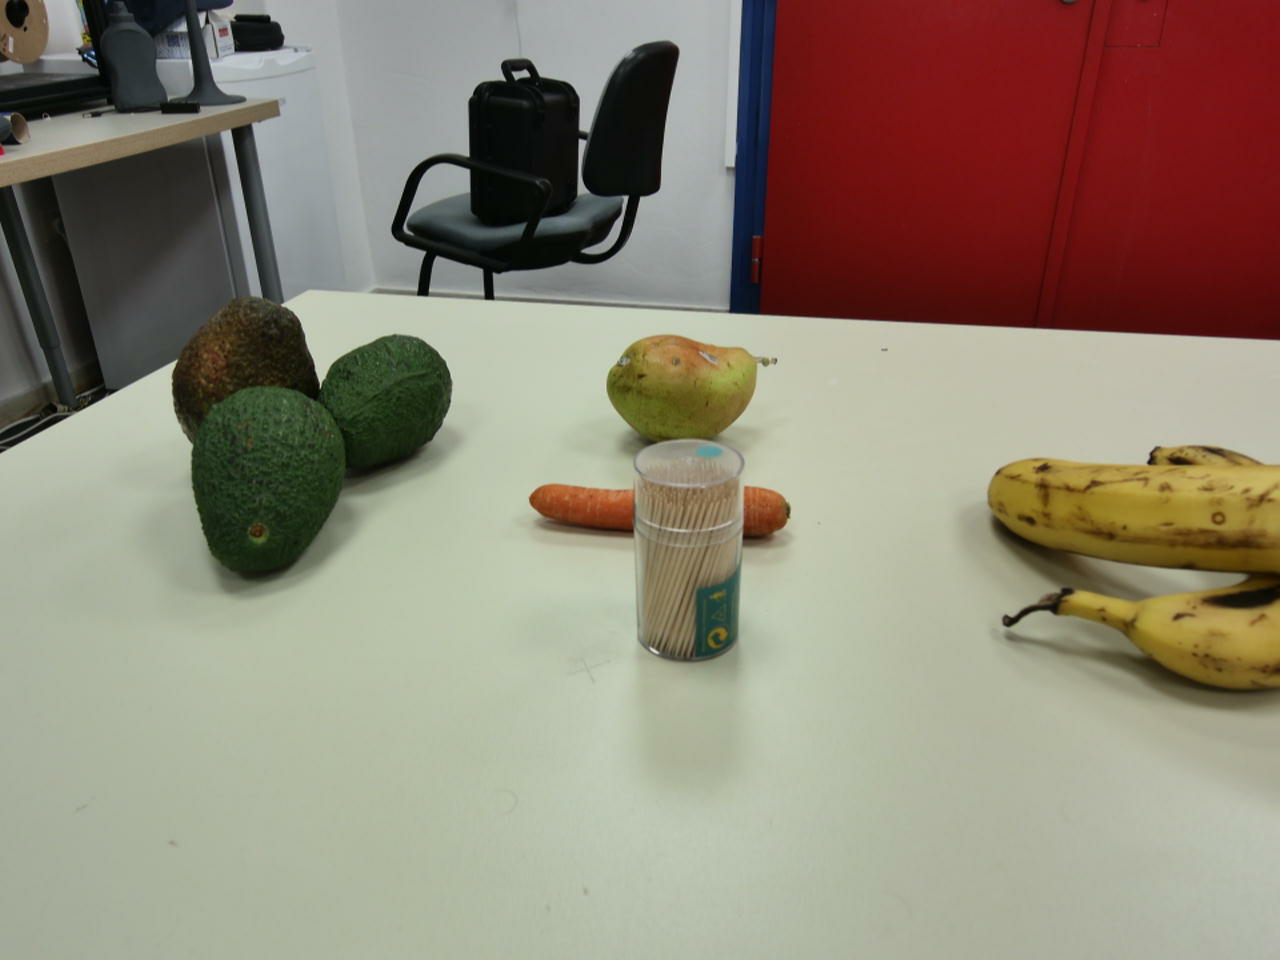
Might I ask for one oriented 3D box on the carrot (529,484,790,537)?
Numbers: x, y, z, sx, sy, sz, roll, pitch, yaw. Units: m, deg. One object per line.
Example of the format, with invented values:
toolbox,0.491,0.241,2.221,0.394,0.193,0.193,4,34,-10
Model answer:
carrot,0.008,0.012,0.467,0.122,0.023,0.024,4,24,9
